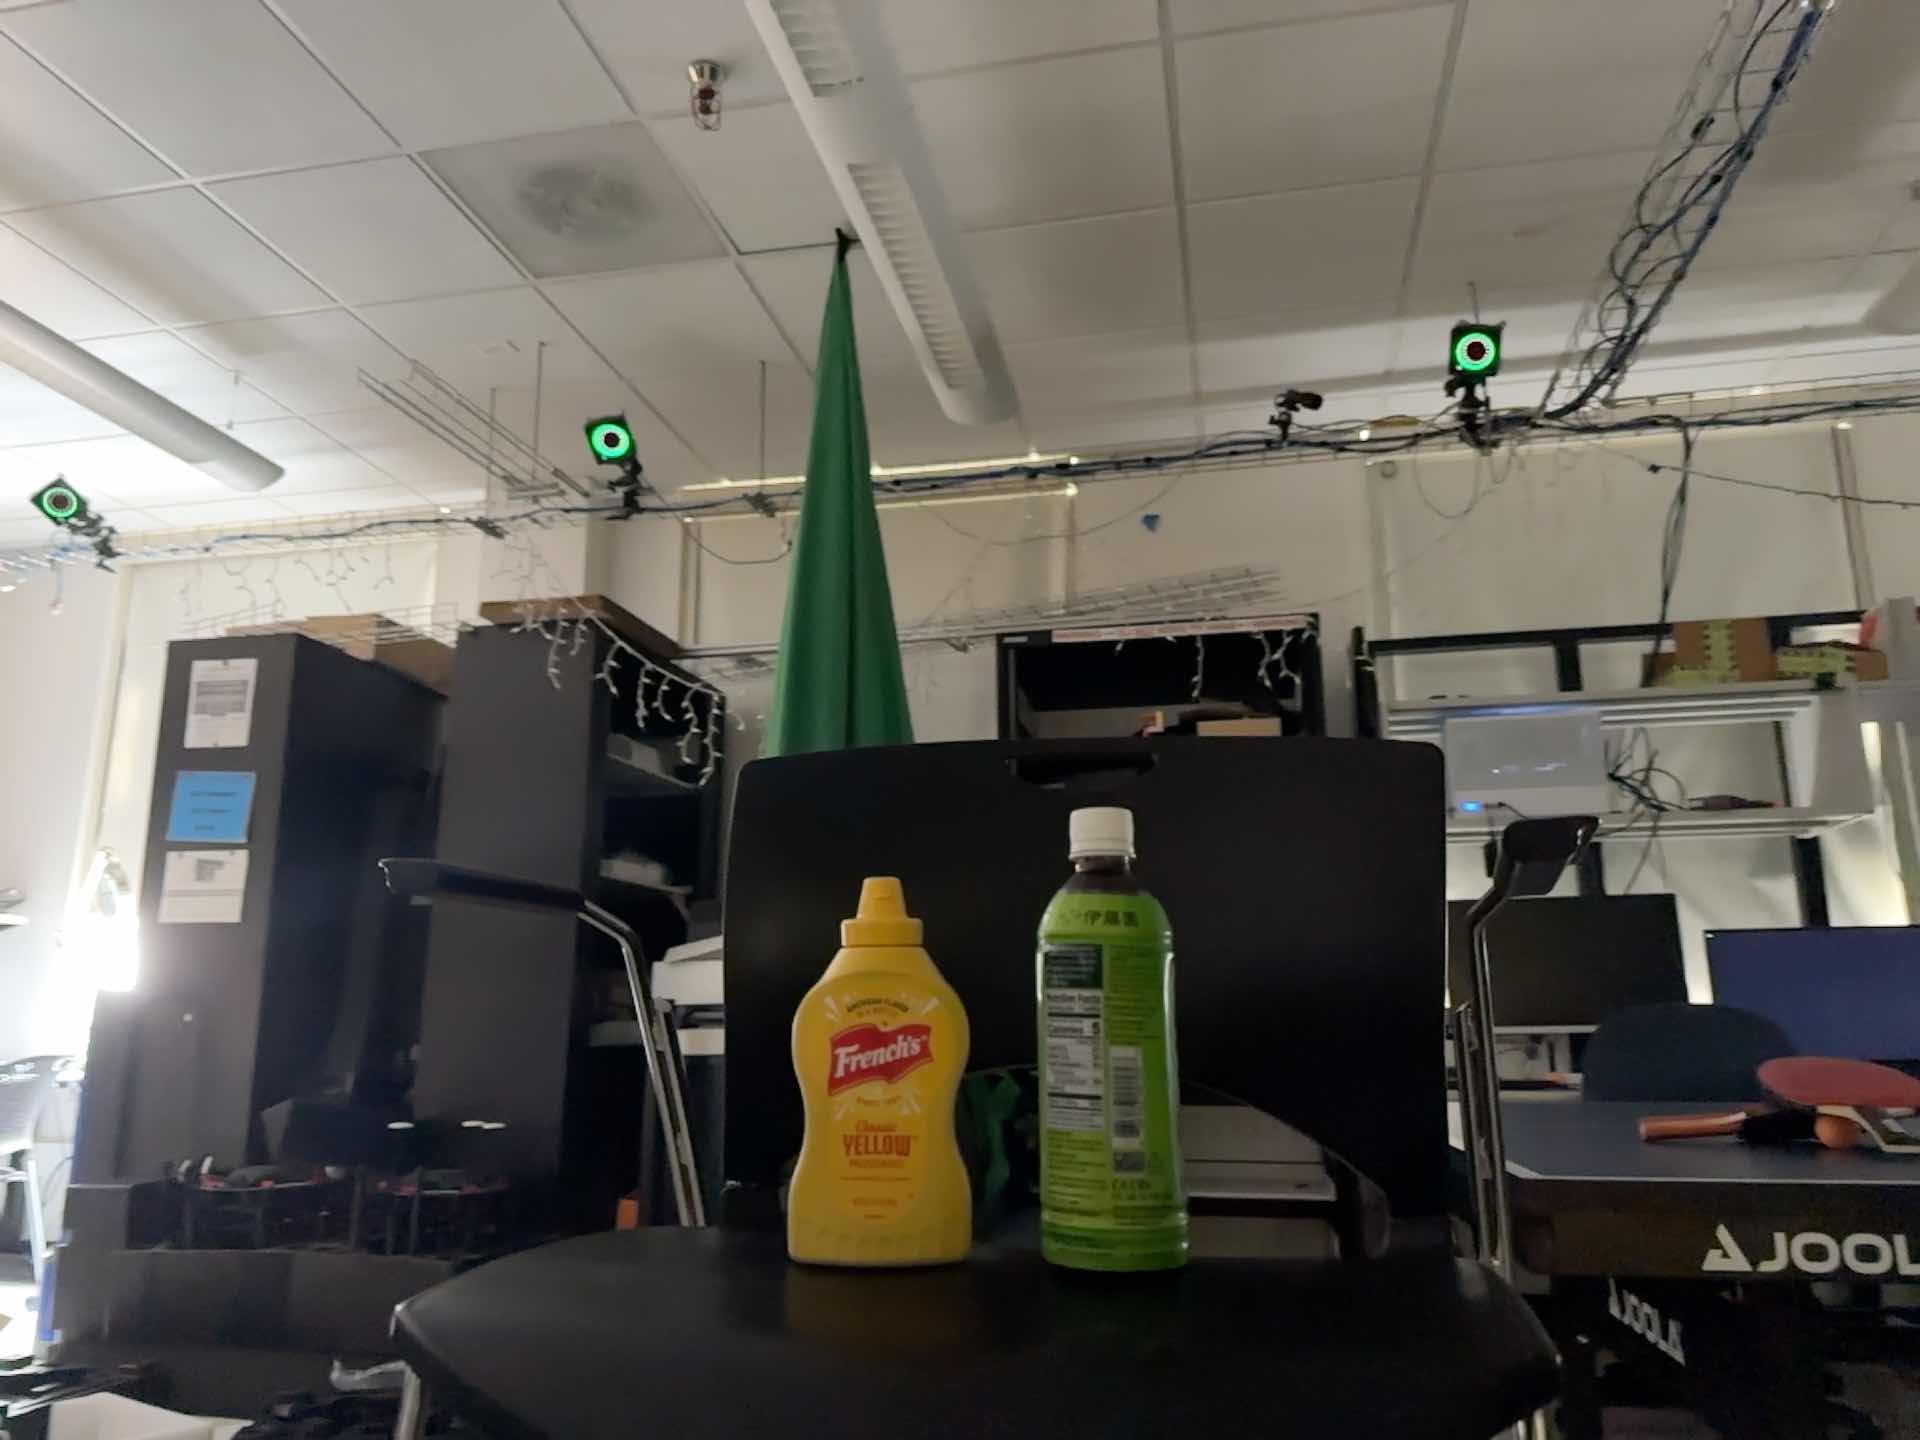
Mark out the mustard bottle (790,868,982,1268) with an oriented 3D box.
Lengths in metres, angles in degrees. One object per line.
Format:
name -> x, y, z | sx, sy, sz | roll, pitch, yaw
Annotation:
mustard bottle -> -0.036, 0.164, 0.654 | 0.092, 0.184, 0.054 | -2, -10, 7

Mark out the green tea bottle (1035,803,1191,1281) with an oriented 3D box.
green tea bottle -> 0.070, 0.145, 0.632 | 0.073, 0.212, 0.073 | 1, -9, 0
